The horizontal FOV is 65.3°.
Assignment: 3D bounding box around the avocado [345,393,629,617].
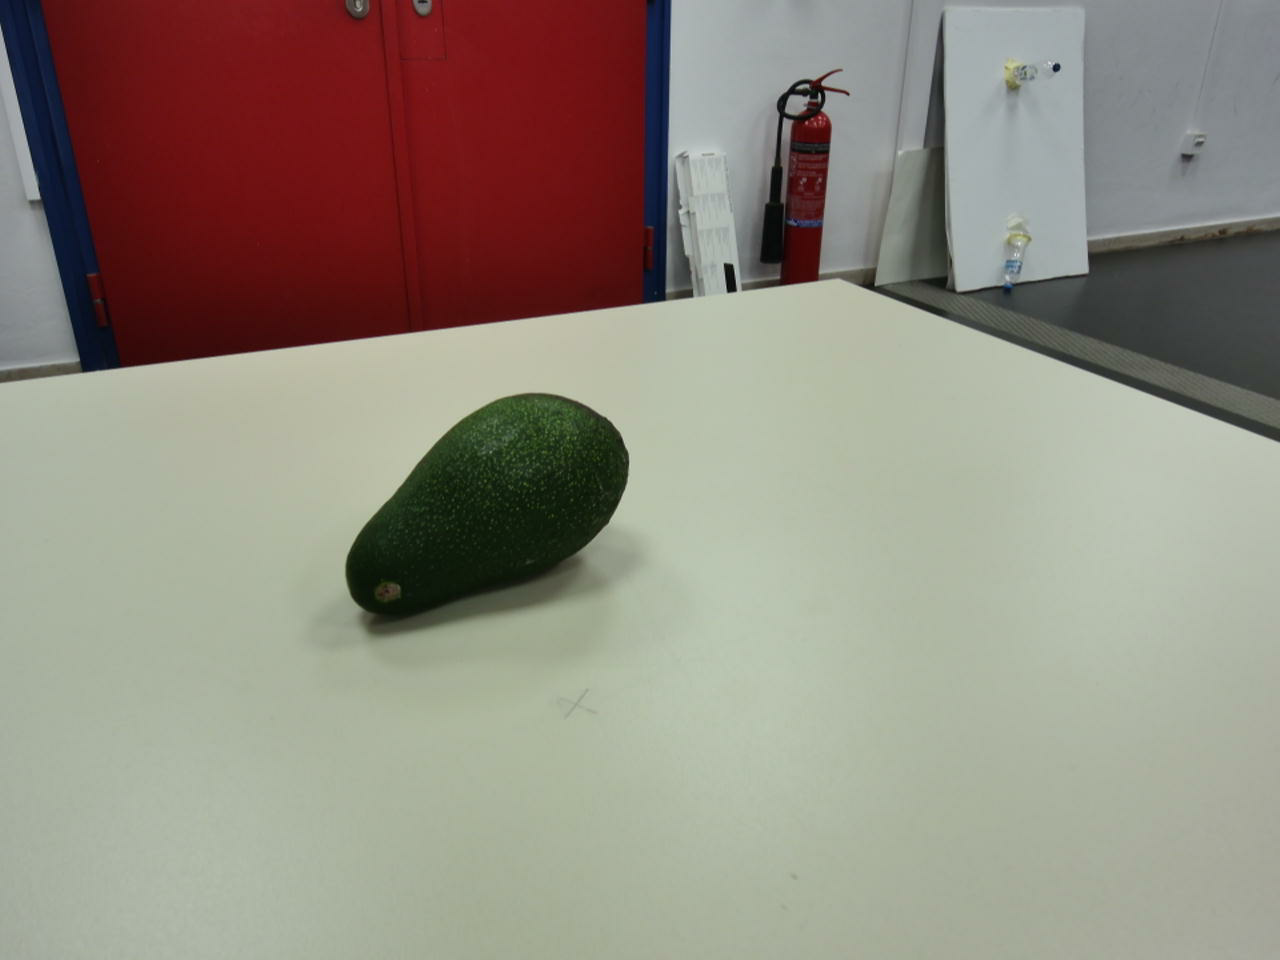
[{"bbox_3d":[-0.064,0.004,0.417,0.123,0.076,0.074,-8,25,-19],"label":"avocado"}]
